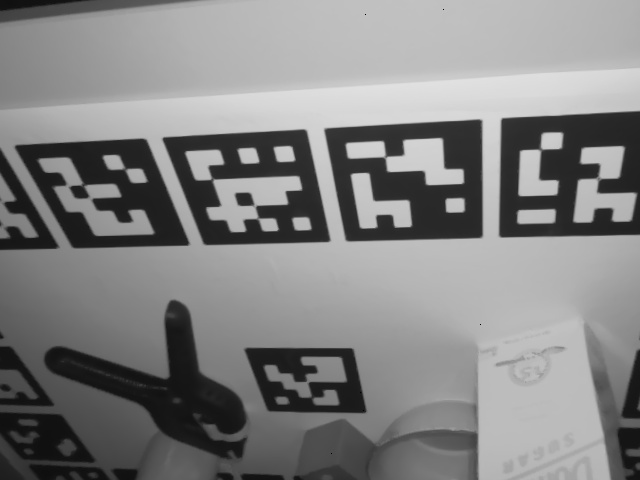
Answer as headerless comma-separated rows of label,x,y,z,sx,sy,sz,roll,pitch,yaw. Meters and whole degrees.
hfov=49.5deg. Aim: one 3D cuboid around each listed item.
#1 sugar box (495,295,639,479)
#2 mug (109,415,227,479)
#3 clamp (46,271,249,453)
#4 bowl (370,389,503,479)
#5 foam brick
sugar box,0.181,0.124,0.513,0.092,0.178,0.045,-20,120,25
mug,-0.150,0.239,0.709,0.117,0.082,0.092,22,128,-5
clamp,-0.128,0.127,0.642,0.163,0.037,0.203,-21,121,20
bowl,0.129,0.190,0.650,0.161,0.056,0.160,4,129,6
foam brick,0.018,0.206,0.689,0.052,0.052,0.078,-24,120,24
